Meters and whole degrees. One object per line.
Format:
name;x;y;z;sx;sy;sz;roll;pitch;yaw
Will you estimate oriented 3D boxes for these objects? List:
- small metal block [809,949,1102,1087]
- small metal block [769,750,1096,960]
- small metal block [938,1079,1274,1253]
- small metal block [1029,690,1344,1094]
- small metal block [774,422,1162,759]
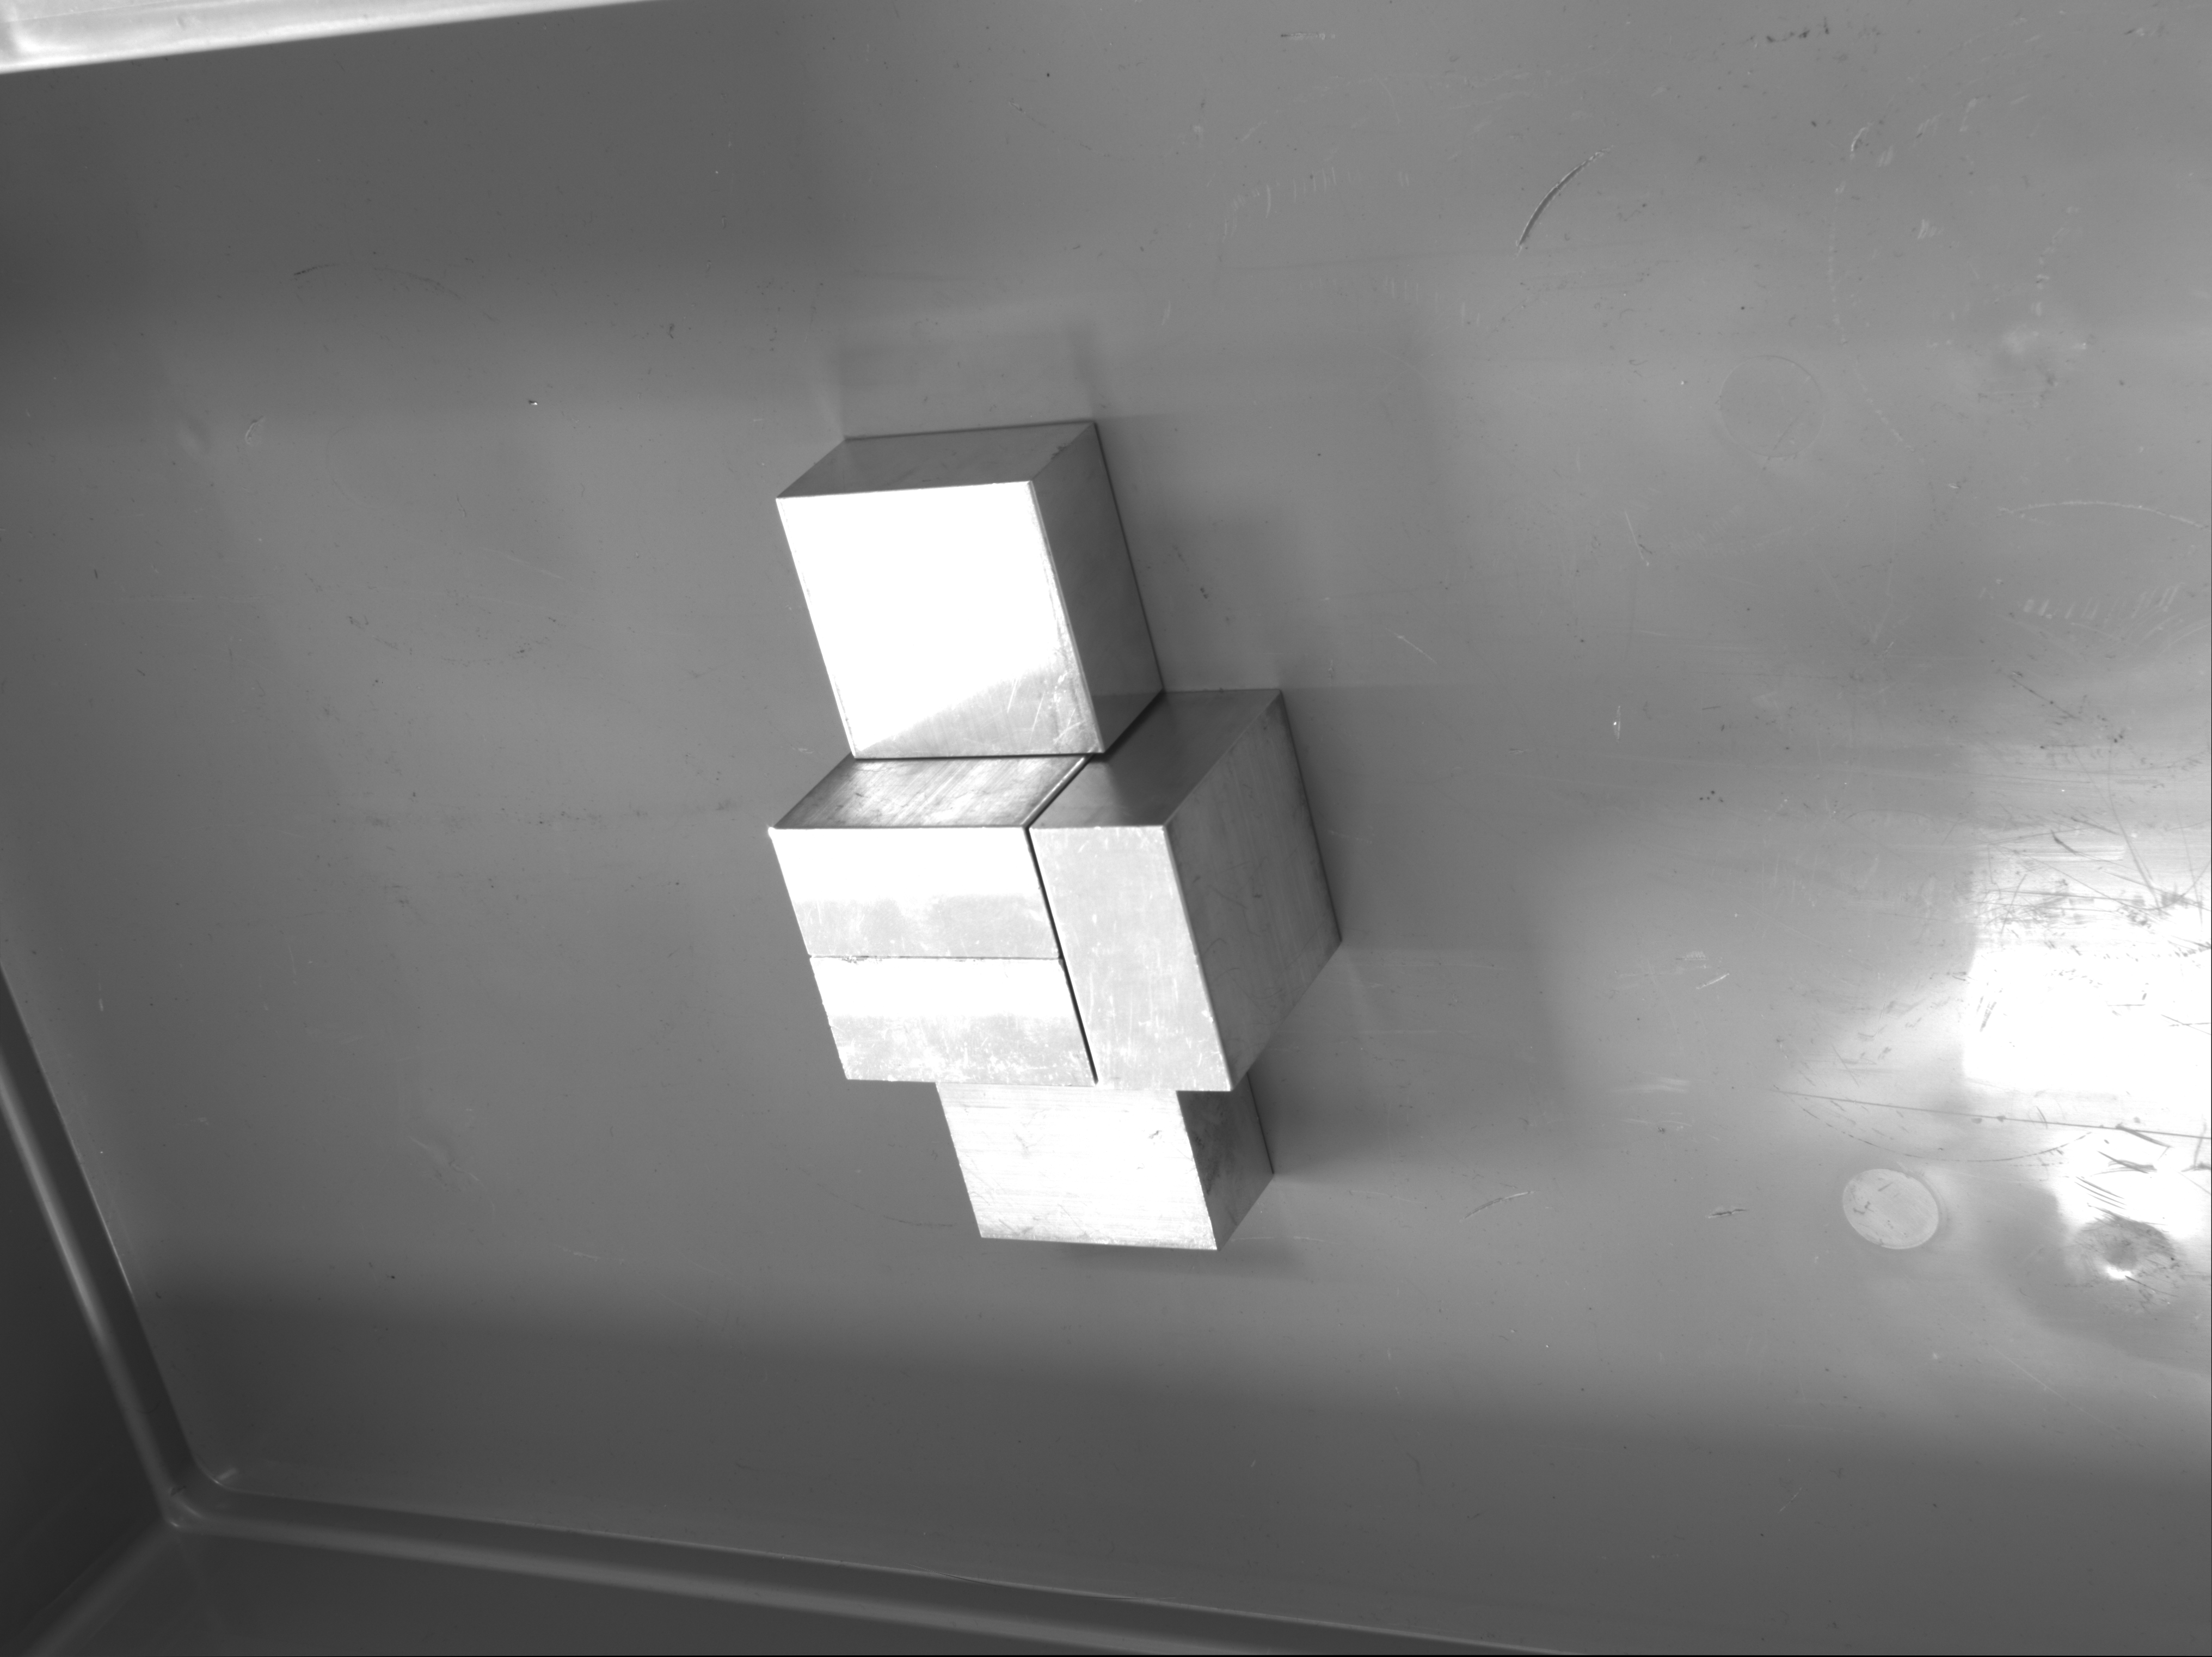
small metal block;-0.016;0.021;0.646;0.050;0.050;0.025;0;118;28
small metal block;-0.022;-0.001;0.636;0.050;0.050;0.025;0;118;28
small metal block;-0.002;0.049;0.671;0.050;0.025;0.050;0;118;28
small metal block;0.015;0.010;0.623;0.025;0.050;0.050;0;118;29
small metal block;-0.023;-0.040;0.628;0.050;0.025;0.050;0;118;28
